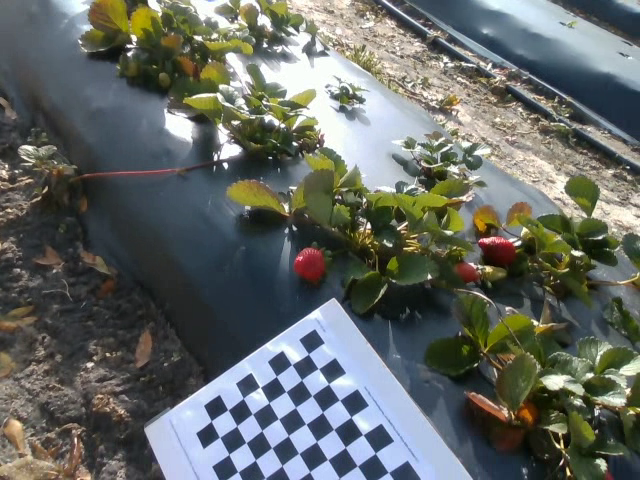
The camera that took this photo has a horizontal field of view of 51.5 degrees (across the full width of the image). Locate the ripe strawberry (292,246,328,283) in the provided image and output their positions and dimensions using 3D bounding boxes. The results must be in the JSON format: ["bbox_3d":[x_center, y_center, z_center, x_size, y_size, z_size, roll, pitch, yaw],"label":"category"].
[{"bbox_3d":[-0.013,0.021,0.690,0.041,0.041,0.047,13,8,37],"label":"ripe strawberry"}]
